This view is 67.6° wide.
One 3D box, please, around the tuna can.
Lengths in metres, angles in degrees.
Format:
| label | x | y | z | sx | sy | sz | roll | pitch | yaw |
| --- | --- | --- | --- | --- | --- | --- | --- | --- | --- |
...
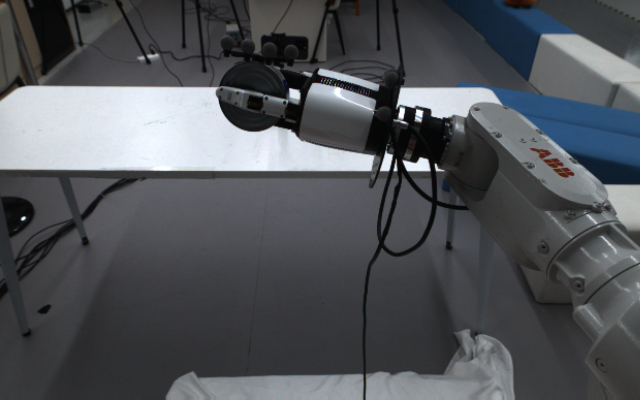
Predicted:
| label | x | y | z | sx | sy | sz | roll | pitch | yaw |
| --- | --- | --- | --- | --- | --- | --- | --- | --- | --- |
| tuna can | -0.082 | -0.132 | 0.610 | 0.085 | 0.085 | 0.034 | 5 | 18 | 5 |
